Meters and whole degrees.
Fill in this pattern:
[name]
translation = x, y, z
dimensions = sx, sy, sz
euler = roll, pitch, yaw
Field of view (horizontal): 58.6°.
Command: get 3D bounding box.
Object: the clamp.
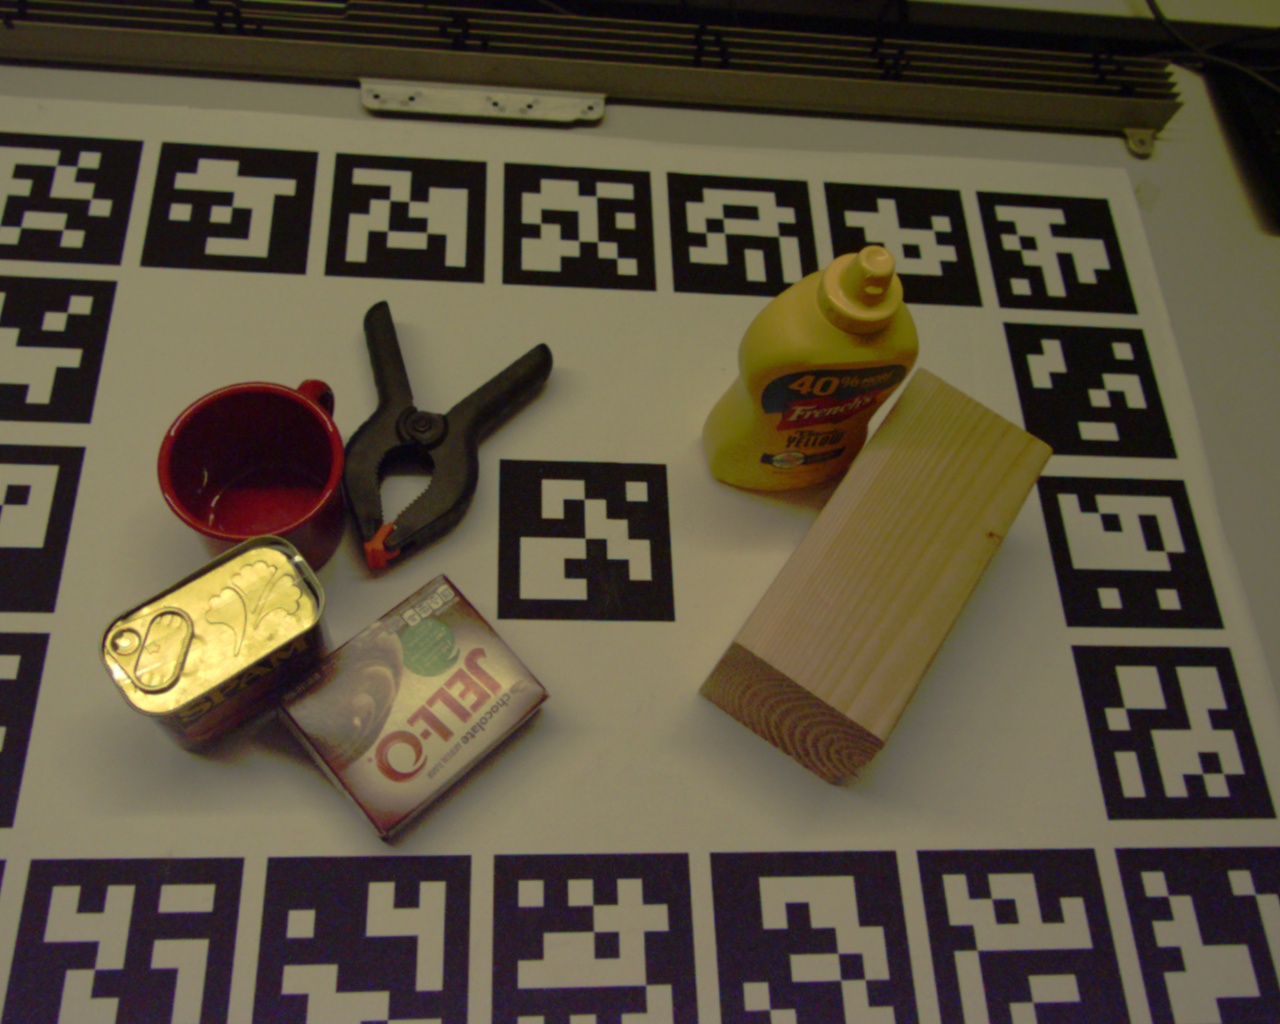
[clamp]
translation = -0.130, -0.048, 0.702
dimensions = 0.122, 0.036, 0.165
euler = 19, 67, -1

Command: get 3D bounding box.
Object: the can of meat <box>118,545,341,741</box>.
[can of meat]
translation = -0.210, 0.072, 0.600
dimensions = 0.101, 0.084, 0.058
euler = -29, 75, -19

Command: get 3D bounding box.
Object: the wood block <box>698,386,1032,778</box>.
[wood block]
translation = 0.131, 0.038, 0.669
dimensions = 0.090, 0.091, 0.205
euler = 34, 64, 9

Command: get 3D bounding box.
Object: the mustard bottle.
[mustard bottle]
translation = 0.094, -0.080, 0.656
dimensions = 0.096, 0.191, 0.058
euler = -4, 68, -10

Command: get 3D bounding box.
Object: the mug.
[mug]
translation = -0.208, -0.015, 0.671
dimensions = 0.093, 0.081, 0.117
euler = 21, 66, 1

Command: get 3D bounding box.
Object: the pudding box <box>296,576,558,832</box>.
[pudding box]
translation = -0.116, 0.105, 0.629
dimensions = 0.113, 0.039, 0.090
euler = -38, 77, -23
